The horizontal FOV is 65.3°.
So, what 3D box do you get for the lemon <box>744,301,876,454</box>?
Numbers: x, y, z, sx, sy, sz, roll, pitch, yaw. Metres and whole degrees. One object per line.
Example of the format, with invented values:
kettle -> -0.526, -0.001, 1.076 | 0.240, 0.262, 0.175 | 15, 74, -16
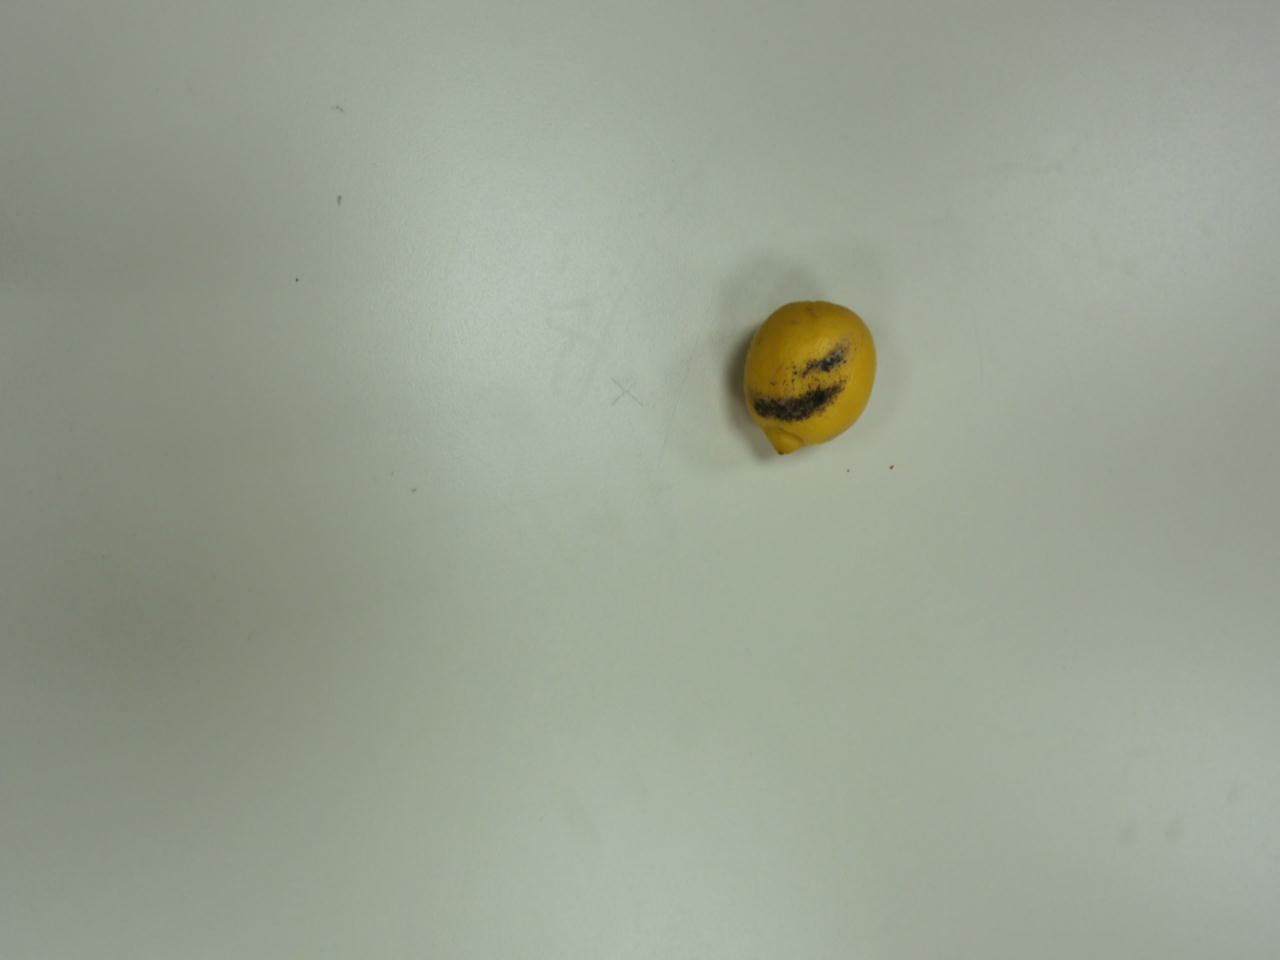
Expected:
lemon -> 0.073, -0.046, 0.428 | 0.058, 0.056, 0.061 | -18, 94, -11
